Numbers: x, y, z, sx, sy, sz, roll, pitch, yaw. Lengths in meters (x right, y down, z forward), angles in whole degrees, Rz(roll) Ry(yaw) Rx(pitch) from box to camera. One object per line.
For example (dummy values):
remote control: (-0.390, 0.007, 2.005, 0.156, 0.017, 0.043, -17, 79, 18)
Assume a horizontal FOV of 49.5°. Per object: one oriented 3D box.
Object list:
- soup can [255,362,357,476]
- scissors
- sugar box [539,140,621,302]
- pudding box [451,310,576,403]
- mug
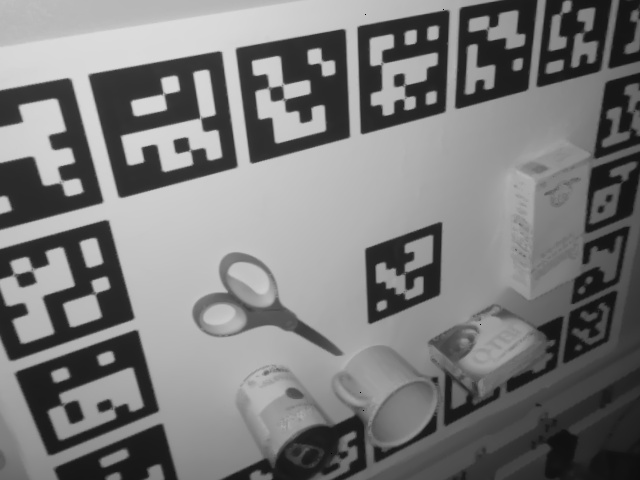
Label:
soup can: (-0.017, 0.178, 0.700, 0.069, 0.101, 0.067, -13, 119, -24)
scissors: (-0.021, 0.074, 0.693, 0.204, 0.015, 0.088, 34, 83, -35)
sugar box: (0.308, -0.020, 0.824, 0.094, 0.045, 0.175, -22, 119, -21)
pudding box: (0.227, 0.137, 0.813, 0.115, 0.089, 0.038, -26, 116, -16)
mug: (0.090, 0.178, 0.763, 0.093, 0.081, 0.118, -50, 127, -3)
